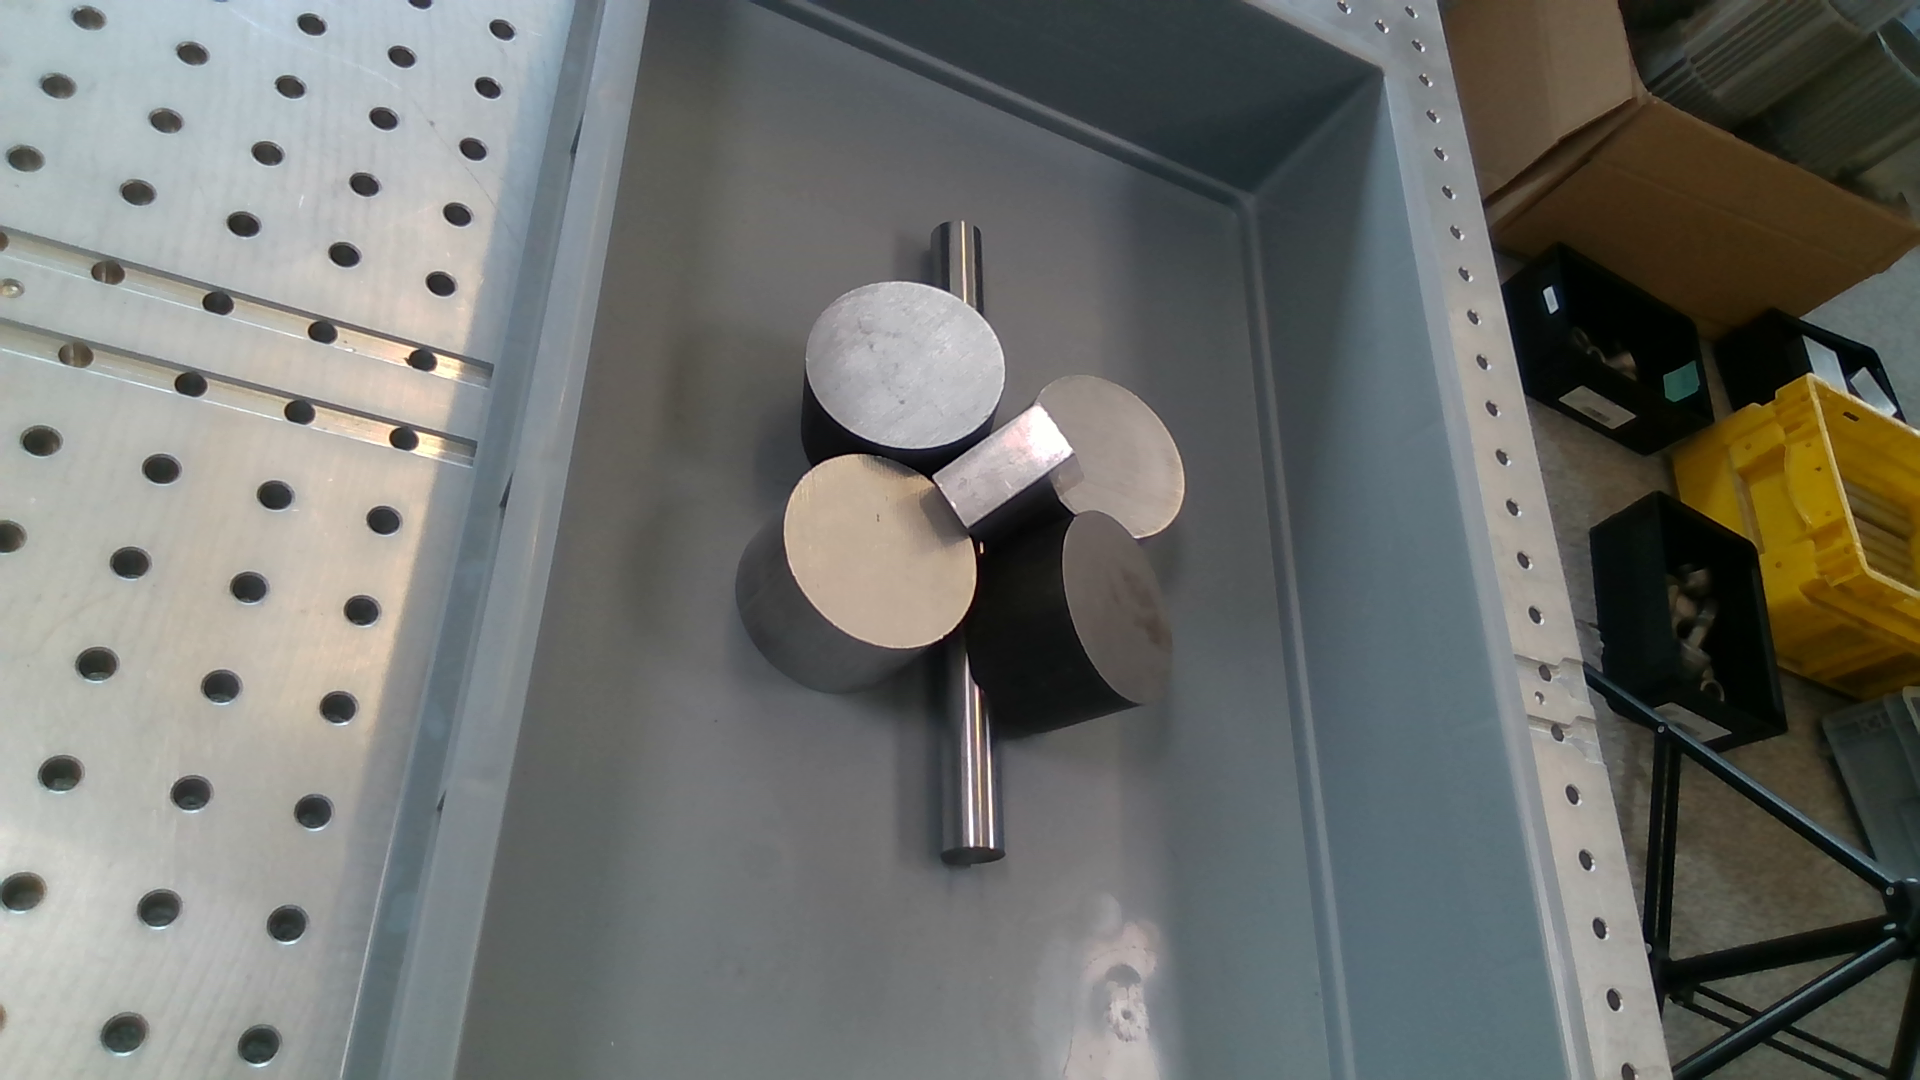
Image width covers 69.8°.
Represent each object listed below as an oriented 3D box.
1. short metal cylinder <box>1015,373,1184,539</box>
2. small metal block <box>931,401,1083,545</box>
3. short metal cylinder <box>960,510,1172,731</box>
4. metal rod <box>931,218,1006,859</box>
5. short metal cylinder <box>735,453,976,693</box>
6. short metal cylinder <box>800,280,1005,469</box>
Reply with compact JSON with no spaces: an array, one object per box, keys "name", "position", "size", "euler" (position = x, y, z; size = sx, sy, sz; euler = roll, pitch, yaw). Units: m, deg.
[{"name":"short metal cylinder","position":[0.053,-0.027,0.615],"size":[0.080,0.050,0.080],"euler":[14,59,-25]},{"name":"small metal block","position":[0.021,-0.025,0.549],"size":[0.050,0.050,0.025],"euler":[-35,77,3]},{"name":"short metal cylinder","position":[0.044,0.034,0.561],"size":[0.080,0.050,0.080],"euler":[32,48,-43]},{"name":"metal rod","position":[0.001,-0.014,0.592],"size":[0.025,0.025,0.299],"euler":[13,59,-26]},{"name":"short metal cylinder","position":[-0.041,0.013,0.536],"size":[0.080,0.050,0.080],"euler":[14,59,-25]},{"name":"short metal cylinder","position":[-0.025,-0.060,0.570],"size":[0.080,0.050,0.080],"euler":[4,62,-7]}]
